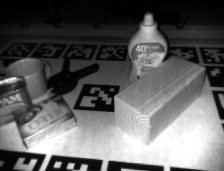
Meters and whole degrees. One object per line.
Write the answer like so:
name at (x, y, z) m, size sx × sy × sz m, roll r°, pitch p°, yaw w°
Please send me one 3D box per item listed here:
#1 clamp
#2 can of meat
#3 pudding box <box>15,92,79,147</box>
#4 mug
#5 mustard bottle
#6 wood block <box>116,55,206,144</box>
clamp at (-0.124, -0.035, 0.610) m, size 0.120 × 0.037 × 0.166 m, roll 17°, pitch 47°, yaw 20°
can of meat at (-0.239, 0.034, 0.490) m, size 0.102 × 0.084 × 0.057 m, roll -19°, pitch 44°, yaw -16°
pudding box at (-0.142, 0.072, 0.481) m, size 0.115 × 0.039 × 0.089 m, roll -24°, pitch 45°, yaw -24°
mug at (-0.211, -0.015, 0.587) m, size 0.092 × 0.082 × 0.118 m, roll 18°, pitch 47°, yaw 24°
mustard bottle at (0.081, -0.092, 0.532) m, size 0.096 × 0.193 × 0.058 m, roll -3°, pitch 42°, yaw 4°
wood block at (0.113, 0.018, 0.486) m, size 0.088 × 0.091 × 0.208 m, roll 29°, pitch 49°, yaw 35°
